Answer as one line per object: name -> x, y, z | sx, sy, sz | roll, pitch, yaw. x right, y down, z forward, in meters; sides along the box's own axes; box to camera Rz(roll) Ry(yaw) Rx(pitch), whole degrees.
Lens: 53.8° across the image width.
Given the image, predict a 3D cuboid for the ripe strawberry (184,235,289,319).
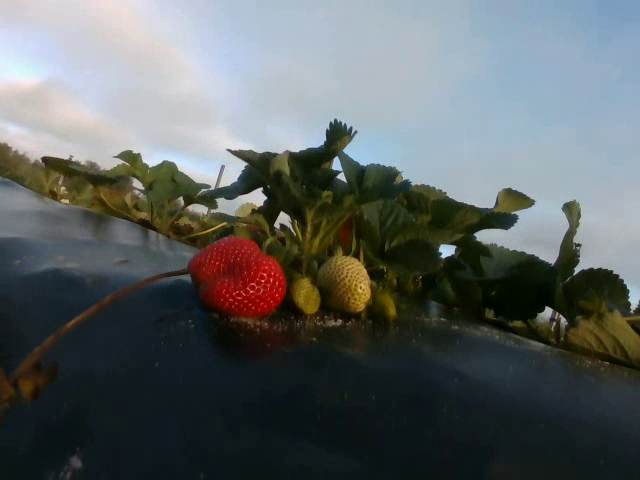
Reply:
ripe strawberry -> -0.044, 0.013, 0.320 | 0.047, 0.035, 0.050 | 13, 21, 40
